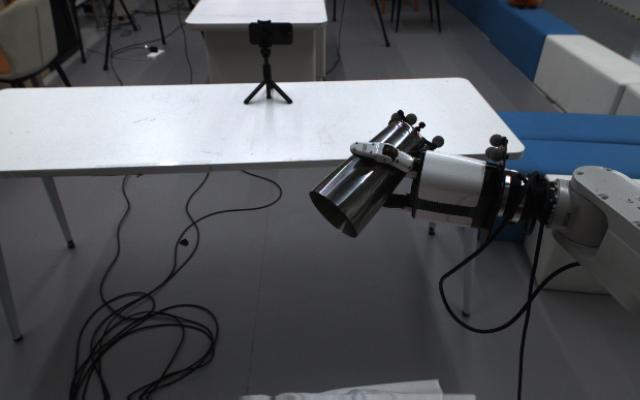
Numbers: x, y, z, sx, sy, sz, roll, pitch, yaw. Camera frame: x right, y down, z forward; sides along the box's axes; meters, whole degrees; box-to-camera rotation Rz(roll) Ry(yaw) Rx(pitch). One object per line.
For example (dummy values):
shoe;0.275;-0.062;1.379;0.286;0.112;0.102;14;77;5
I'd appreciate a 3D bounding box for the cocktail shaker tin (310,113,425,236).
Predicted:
cocktail shaker tin;0.076;-0.042;0.707;0.170;0.093;0.093;-43;50;-14
